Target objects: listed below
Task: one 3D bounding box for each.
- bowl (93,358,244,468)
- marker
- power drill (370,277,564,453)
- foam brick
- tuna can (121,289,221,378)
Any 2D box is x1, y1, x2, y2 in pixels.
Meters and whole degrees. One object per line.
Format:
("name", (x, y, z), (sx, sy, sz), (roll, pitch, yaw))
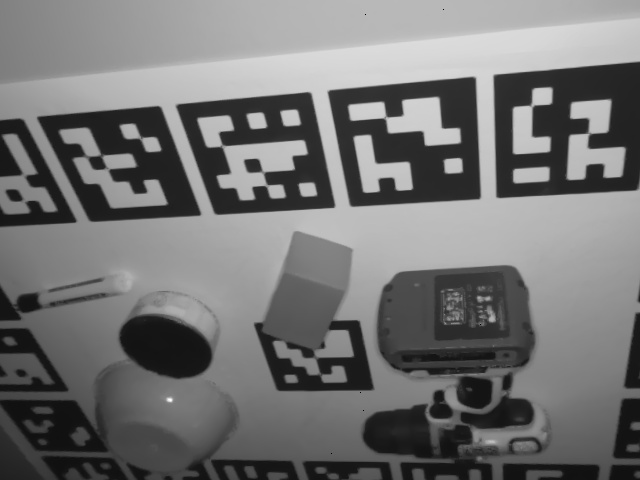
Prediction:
("bowl", (-0.164, 0.192, 0.726), (0.162, 0.056, 0.160), (2, 133, 3))
("marker", (-0.228, 0.045, 0.634), (0.120, 0.020, 0.019), (-11, 122, 17))
("power drill", (0.125, 0.119, 0.619), (0.183, 0.058, 0.186), (-2, 129, 15))
("foam brick", (-0.006, 0.032, 0.580), (0.051, 0.053, 0.077), (17, 126, -2))
("tuna can", (-0.136, 0.086, 0.643), (0.085, 0.034, 0.085), (5, 128, 8))
